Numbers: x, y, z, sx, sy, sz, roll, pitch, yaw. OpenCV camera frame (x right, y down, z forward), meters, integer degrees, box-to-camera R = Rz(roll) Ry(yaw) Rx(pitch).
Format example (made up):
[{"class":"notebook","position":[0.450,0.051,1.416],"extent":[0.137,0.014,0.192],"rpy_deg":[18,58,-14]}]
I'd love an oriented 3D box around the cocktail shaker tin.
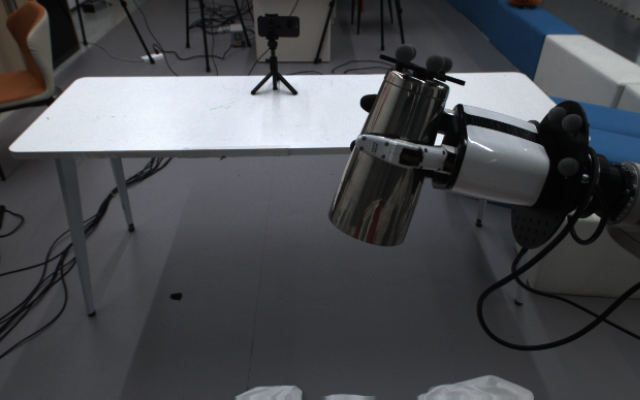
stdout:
[{"class":"cocktail shaker tin","position":[0.078,-0.047,0.519],"extent":[0.093,0.170,0.093],"rpy_deg":[15,21,-6]}]
